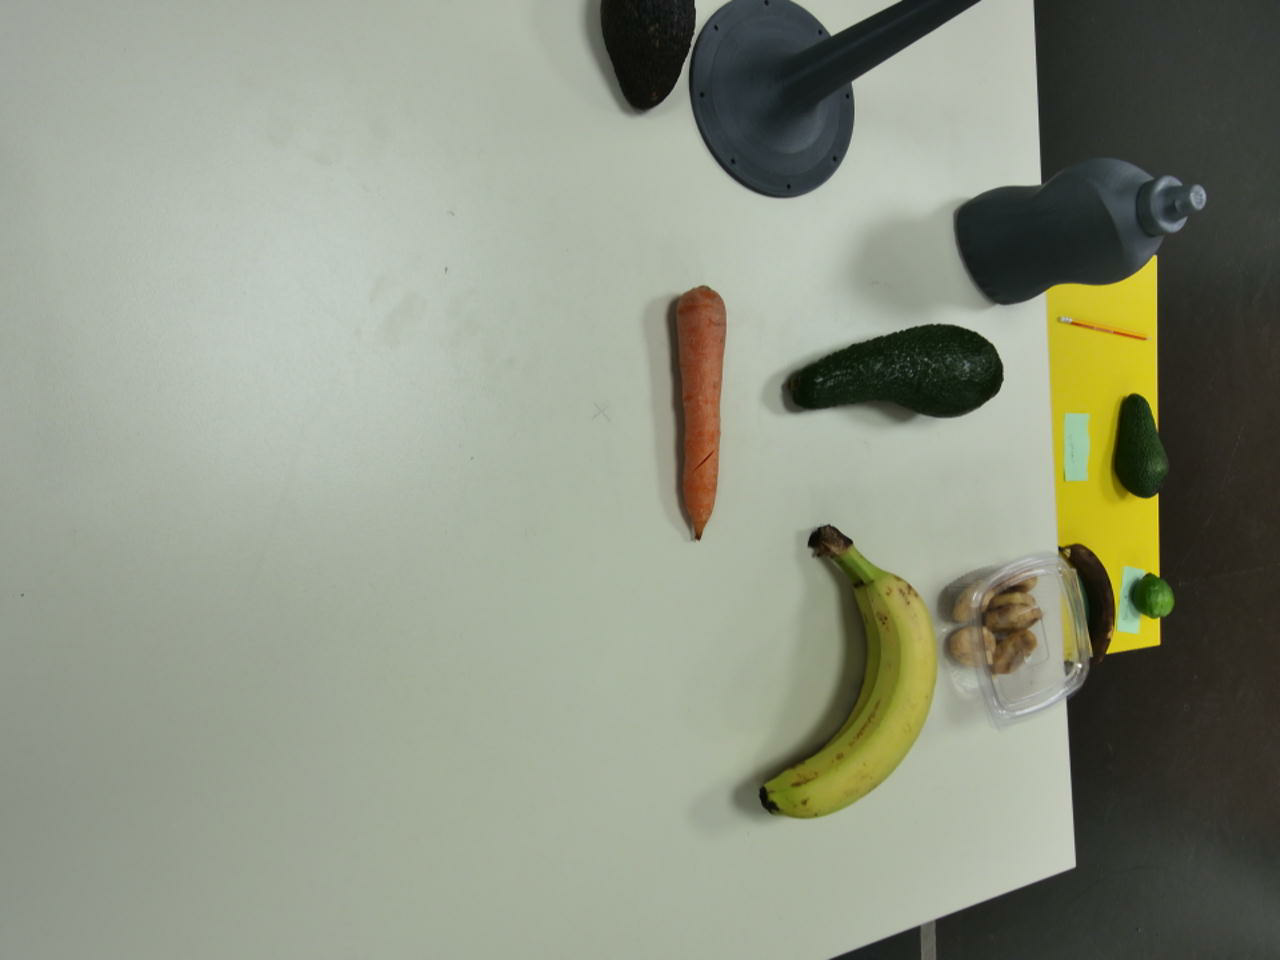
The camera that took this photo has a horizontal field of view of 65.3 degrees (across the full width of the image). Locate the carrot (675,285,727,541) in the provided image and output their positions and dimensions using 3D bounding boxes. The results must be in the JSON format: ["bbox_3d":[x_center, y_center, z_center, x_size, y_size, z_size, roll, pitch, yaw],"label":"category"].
[{"bbox_3d":[0.049,-0.049,0.764,0.039,0.041,0.196,-4,93,-28],"label":"carrot"}]
